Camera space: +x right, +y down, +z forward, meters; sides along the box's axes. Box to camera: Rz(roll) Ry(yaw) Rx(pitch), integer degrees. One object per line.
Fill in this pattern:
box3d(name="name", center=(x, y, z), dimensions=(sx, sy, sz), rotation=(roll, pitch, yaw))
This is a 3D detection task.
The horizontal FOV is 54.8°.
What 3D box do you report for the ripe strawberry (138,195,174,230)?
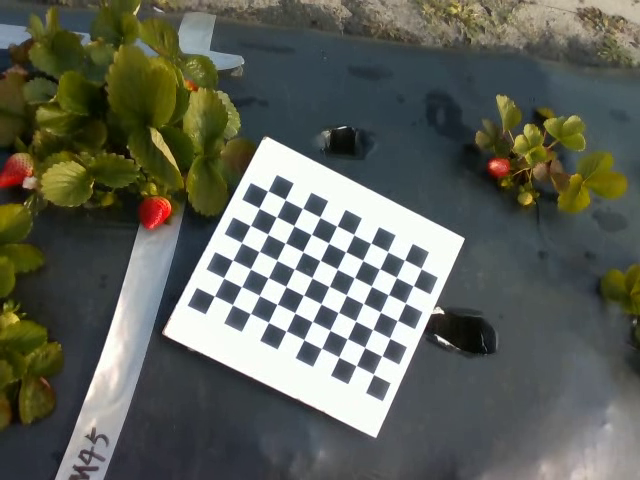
box3d(name="ripe strawberry", center=(-0.185, -0.028, 0.683), dimensions=(0.050, 0.055, 0.036), rotation=(22, -29, -11))
